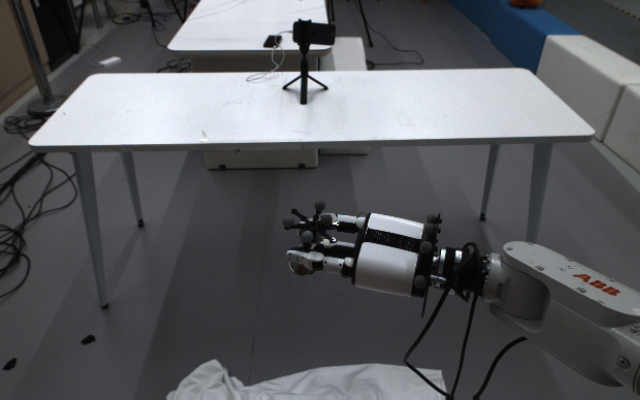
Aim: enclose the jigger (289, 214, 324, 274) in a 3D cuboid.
[{"bbox_3d":[-0.021,0.078,0.752,0.043,0.071,0.043,10,36,-7],"label":"jigger"}]
